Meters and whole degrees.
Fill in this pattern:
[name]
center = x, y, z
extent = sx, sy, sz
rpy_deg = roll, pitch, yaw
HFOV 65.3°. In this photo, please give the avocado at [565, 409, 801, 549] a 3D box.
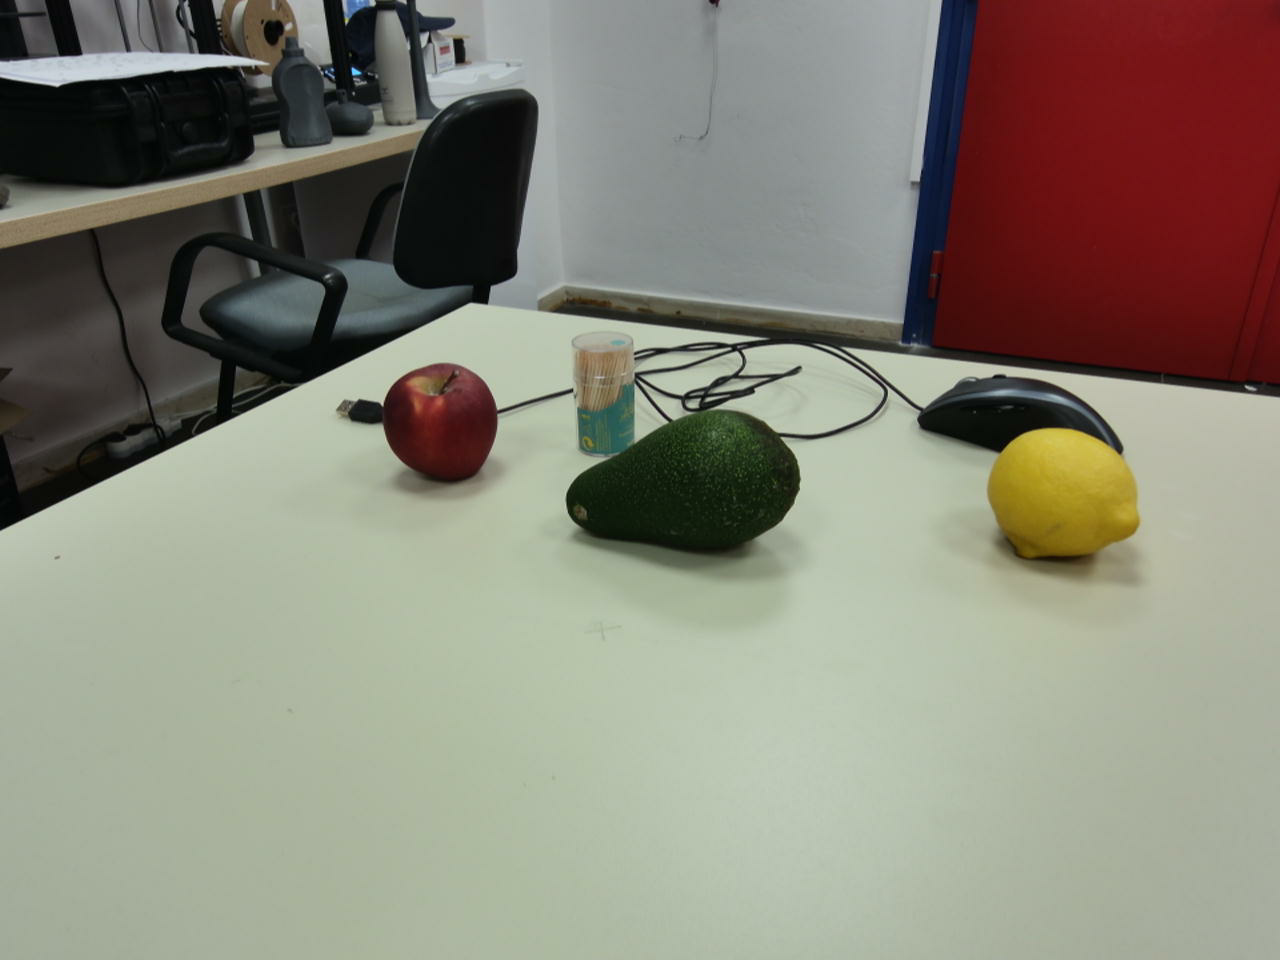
[avocado]
center = 0.026, -0.003, 0.534
extent = 0.123, 0.076, 0.074
rpy_deg = 14, 28, 28
